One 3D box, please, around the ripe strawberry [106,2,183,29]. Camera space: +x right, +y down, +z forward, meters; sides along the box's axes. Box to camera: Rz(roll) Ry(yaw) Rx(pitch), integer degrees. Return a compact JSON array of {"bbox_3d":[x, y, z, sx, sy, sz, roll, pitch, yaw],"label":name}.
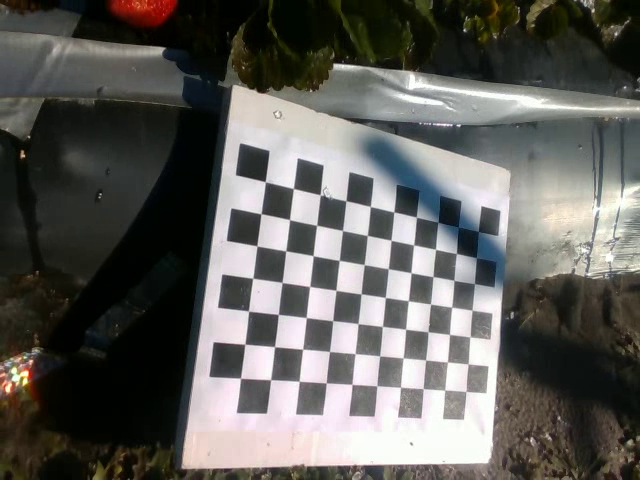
[{"bbox_3d":[-0.132,-0.169,0.431,0.057,0.062,0.065,-35,24,21],"label":"ripe strawberry"}]
